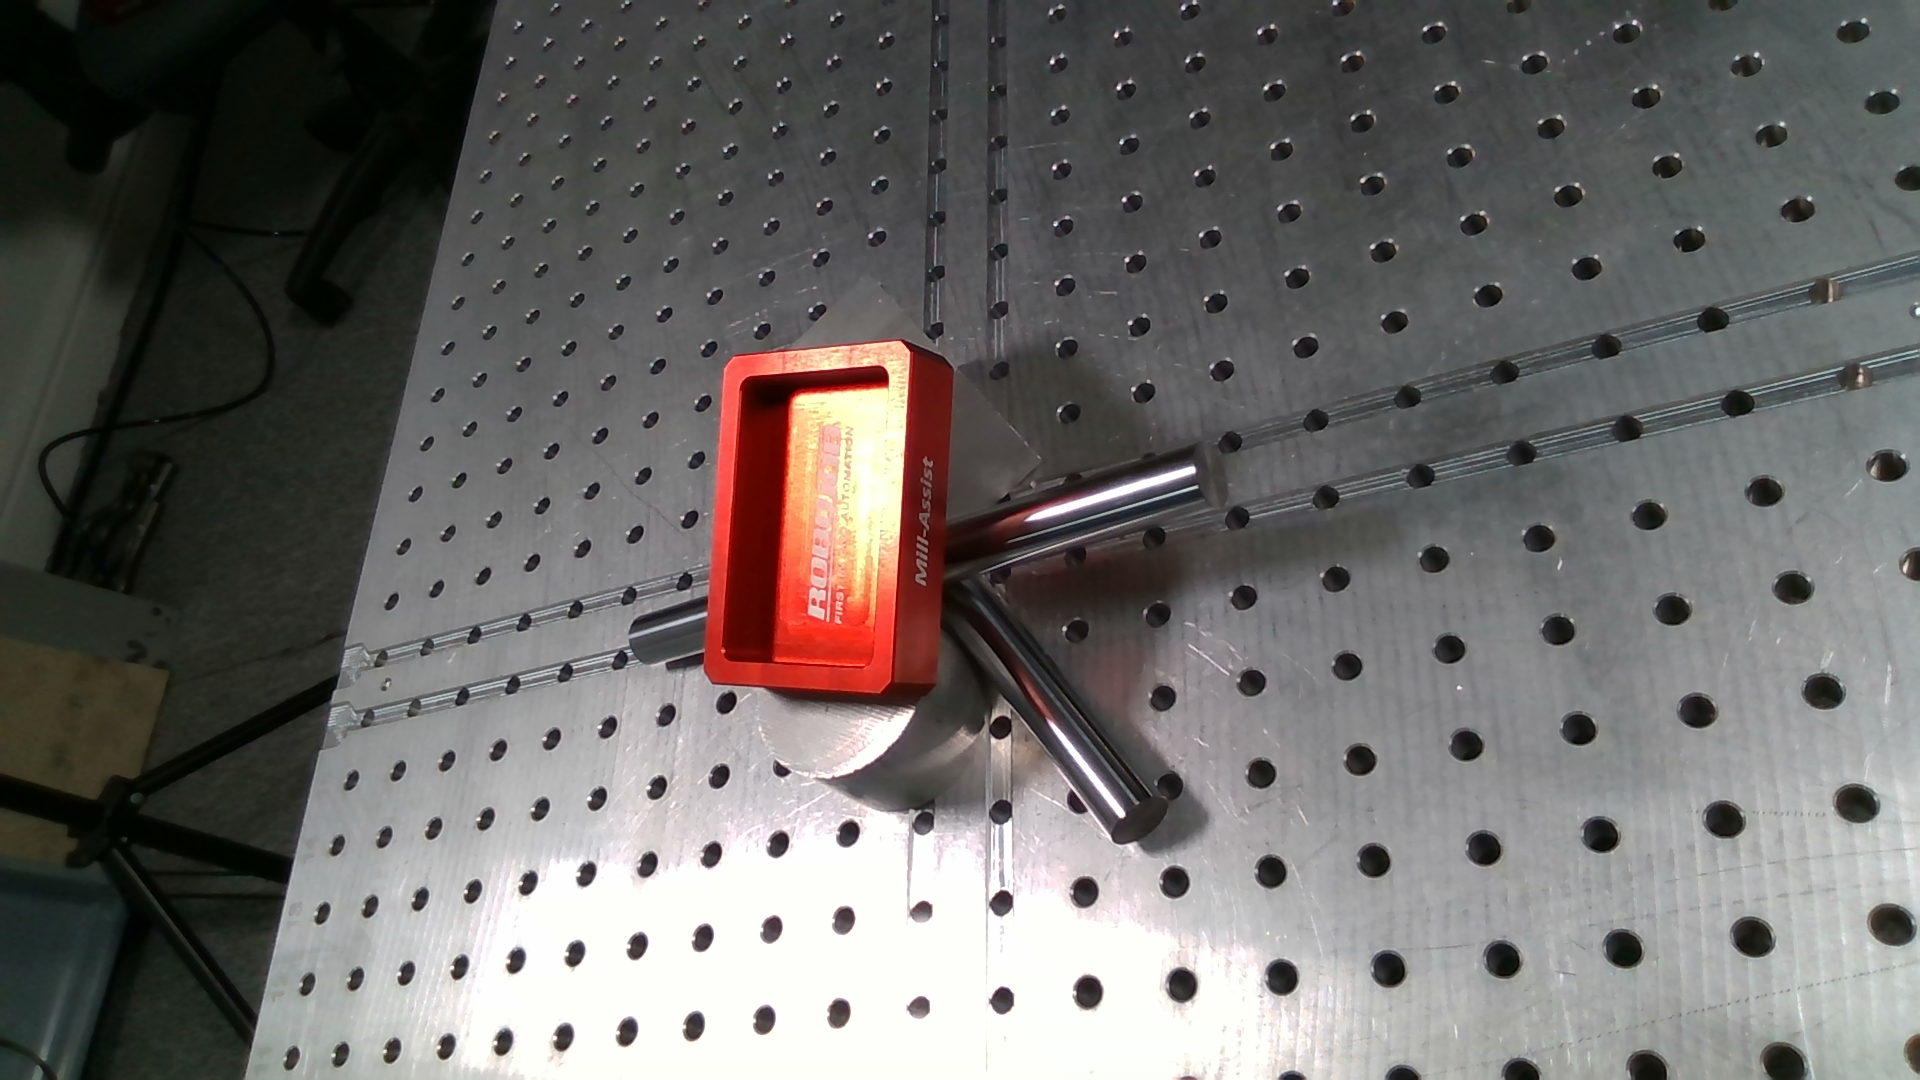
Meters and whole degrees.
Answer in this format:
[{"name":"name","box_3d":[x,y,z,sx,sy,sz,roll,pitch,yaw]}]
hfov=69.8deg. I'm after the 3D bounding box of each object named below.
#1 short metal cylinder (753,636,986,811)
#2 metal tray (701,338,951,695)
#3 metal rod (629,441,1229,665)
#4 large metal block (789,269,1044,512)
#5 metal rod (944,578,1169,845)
[{"name":"short metal cylinder","box_3d":[-0.037,0.065,0.559,0.080,0.050,0.080,-14,59,25]},{"name":"metal tray","box_3d":[-0.052,-0.008,0.530,0.090,0.030,0.130,0,84,31]},{"name":"metal rod","box_3d":[-0.030,0.012,0.571,0.300,0.025,0.025,-16,57,35]},{"name":"large metal block","box_3d":[-0.020,-0.058,0.595,0.050,0.080,0.080,-43,51,5]},{"name":"metal rod","box_3d":[-0.009,0.010,0.589,0.025,0.025,0.299,-43,51,5]}]
